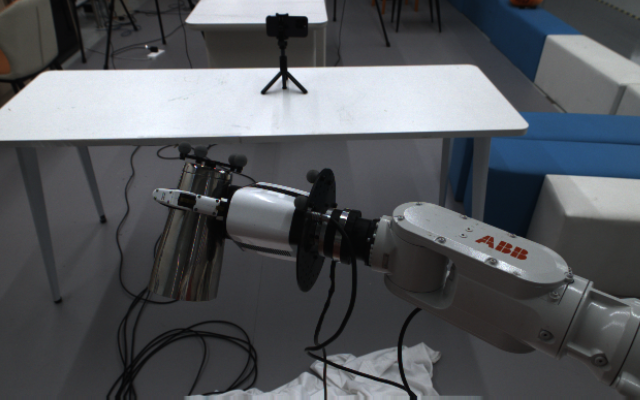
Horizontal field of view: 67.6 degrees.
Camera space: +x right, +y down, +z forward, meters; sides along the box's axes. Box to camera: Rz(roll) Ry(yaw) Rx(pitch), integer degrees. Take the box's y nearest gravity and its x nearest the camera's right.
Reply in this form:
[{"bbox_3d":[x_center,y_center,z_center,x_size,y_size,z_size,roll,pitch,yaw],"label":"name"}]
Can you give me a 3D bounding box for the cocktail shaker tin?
[{"bbox_3d":[-0.164,0.038,0.650,0.093,0.170,0.093,13,1,0],"label":"cocktail shaker tin"}]
